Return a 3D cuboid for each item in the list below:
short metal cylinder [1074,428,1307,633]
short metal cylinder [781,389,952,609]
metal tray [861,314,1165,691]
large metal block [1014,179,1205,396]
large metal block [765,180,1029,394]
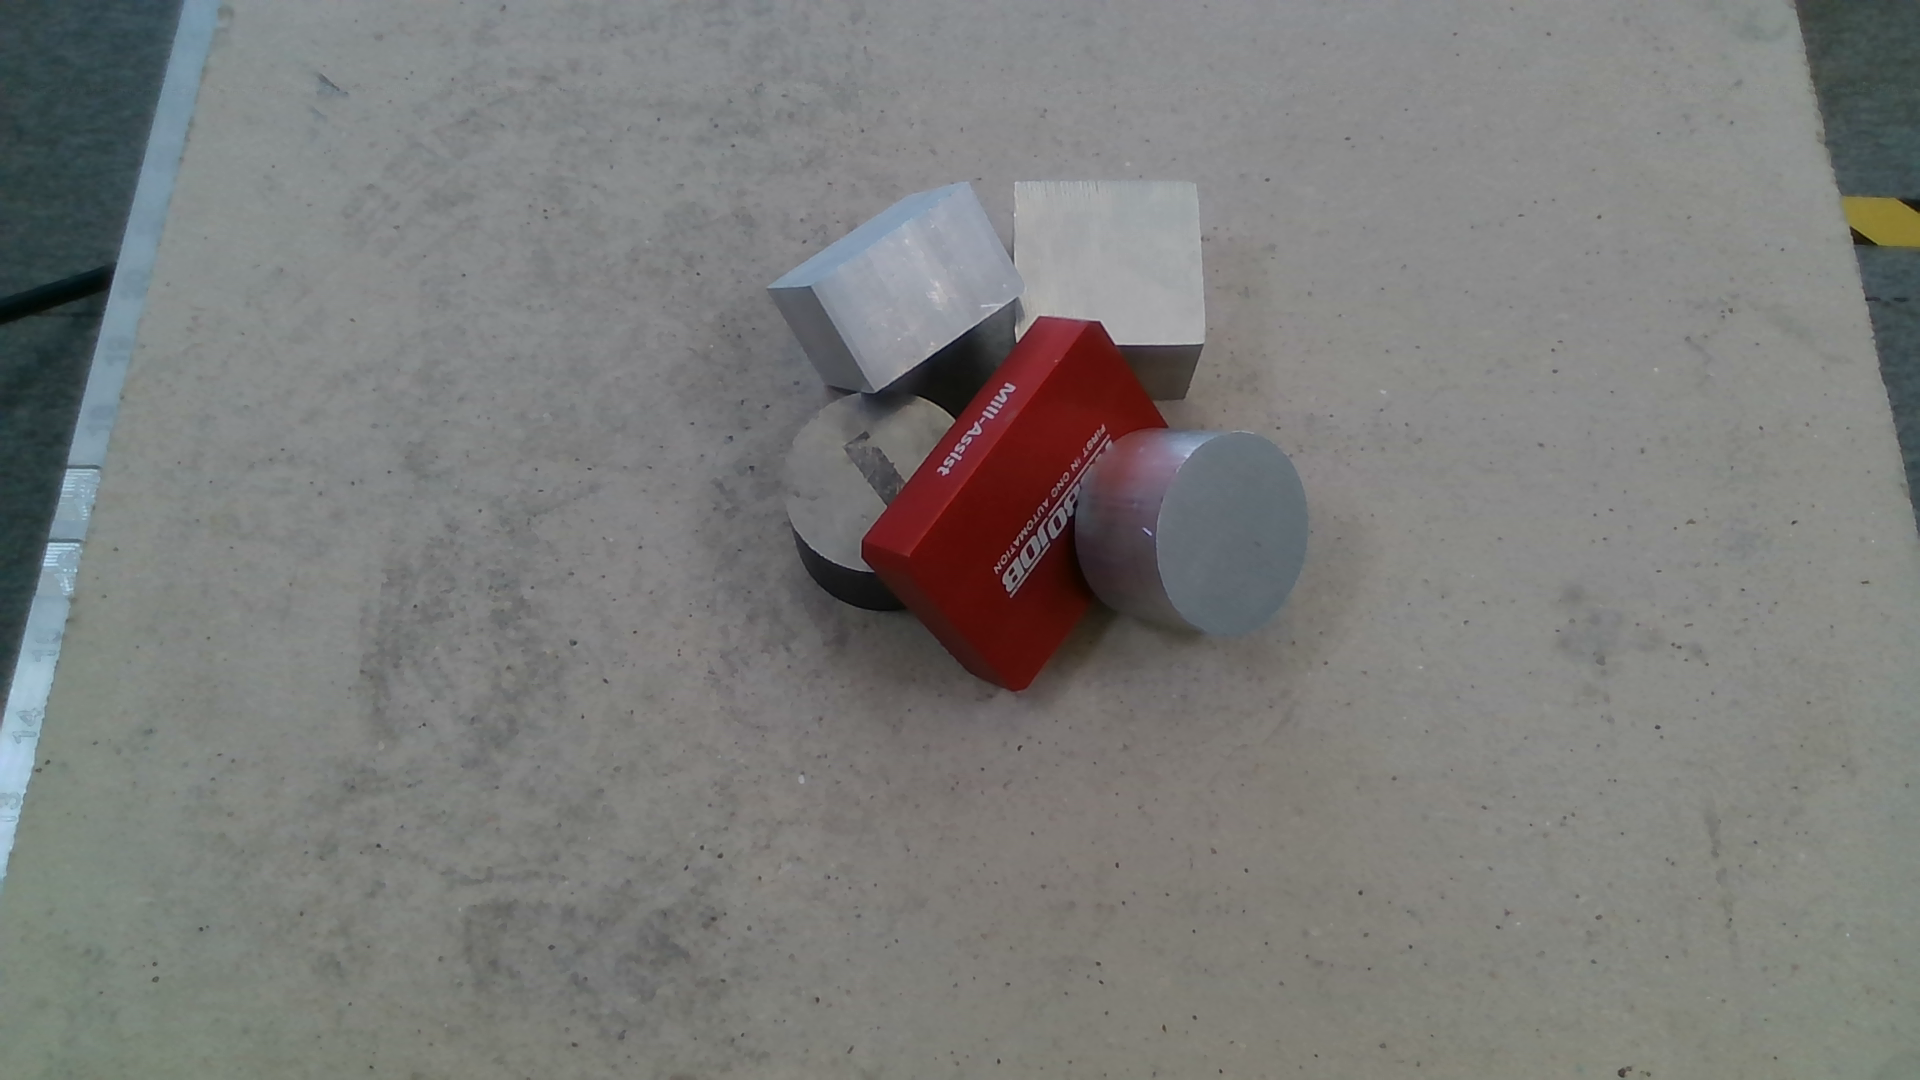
[{"bbox_3d":[0.093,-0.006,0.556,0.080,0.050,0.080,-4,98,-32],"label":"short metal cylinder"},{"bbox_3d":[-0.033,-0.017,0.582,0.080,0.050,0.080,0,70,0],"label":"short metal cylinder"},{"bbox_3d":[0.029,-0.016,0.561,0.030,0.090,0.130,18,65,49],"label":"metal tray"},{"bbox_3d":[0.063,-0.112,0.613,0.080,0.050,0.080,1,70,0],"label":"large metal block"},{"bbox_3d":[-0.030,-0.108,0.591,0.080,0.080,0.050,-36,110,-12],"label":"large metal block"}]
